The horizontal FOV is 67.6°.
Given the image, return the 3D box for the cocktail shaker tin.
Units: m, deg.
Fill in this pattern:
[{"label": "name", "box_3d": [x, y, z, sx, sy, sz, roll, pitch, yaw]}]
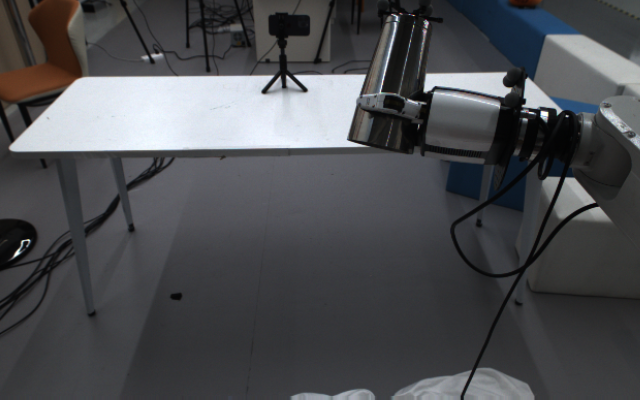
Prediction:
[{"label": "cocktail shaker tin", "box_3d": [0.100, -0.155, 0.654, 0.093, 0.170, 0.093, 13, 4, -1]}]
